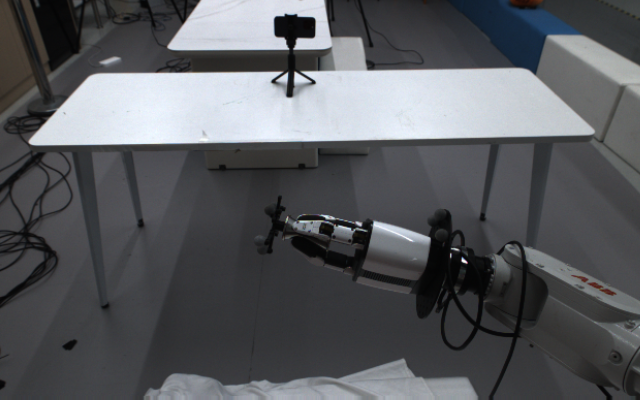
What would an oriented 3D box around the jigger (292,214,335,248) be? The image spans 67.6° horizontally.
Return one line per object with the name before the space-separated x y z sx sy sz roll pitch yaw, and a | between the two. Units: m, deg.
jigger | -0.010 0.044 0.705 0.071 0.043 0.043 13 36 4
